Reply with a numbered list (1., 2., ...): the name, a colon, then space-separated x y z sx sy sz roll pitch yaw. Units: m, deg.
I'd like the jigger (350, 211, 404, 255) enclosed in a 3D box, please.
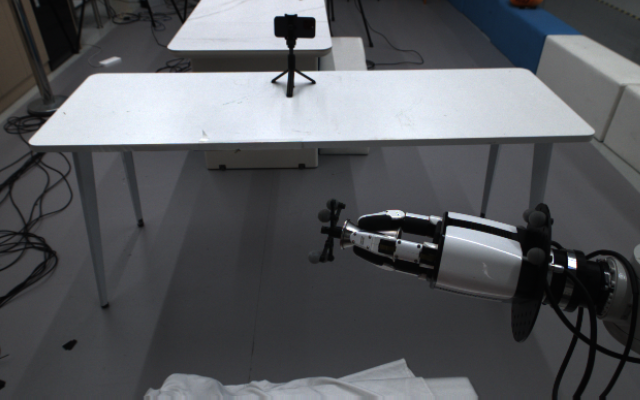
1. jigger: 0.069 0.045 0.598 0.071 0.043 0.043 10 35 16
